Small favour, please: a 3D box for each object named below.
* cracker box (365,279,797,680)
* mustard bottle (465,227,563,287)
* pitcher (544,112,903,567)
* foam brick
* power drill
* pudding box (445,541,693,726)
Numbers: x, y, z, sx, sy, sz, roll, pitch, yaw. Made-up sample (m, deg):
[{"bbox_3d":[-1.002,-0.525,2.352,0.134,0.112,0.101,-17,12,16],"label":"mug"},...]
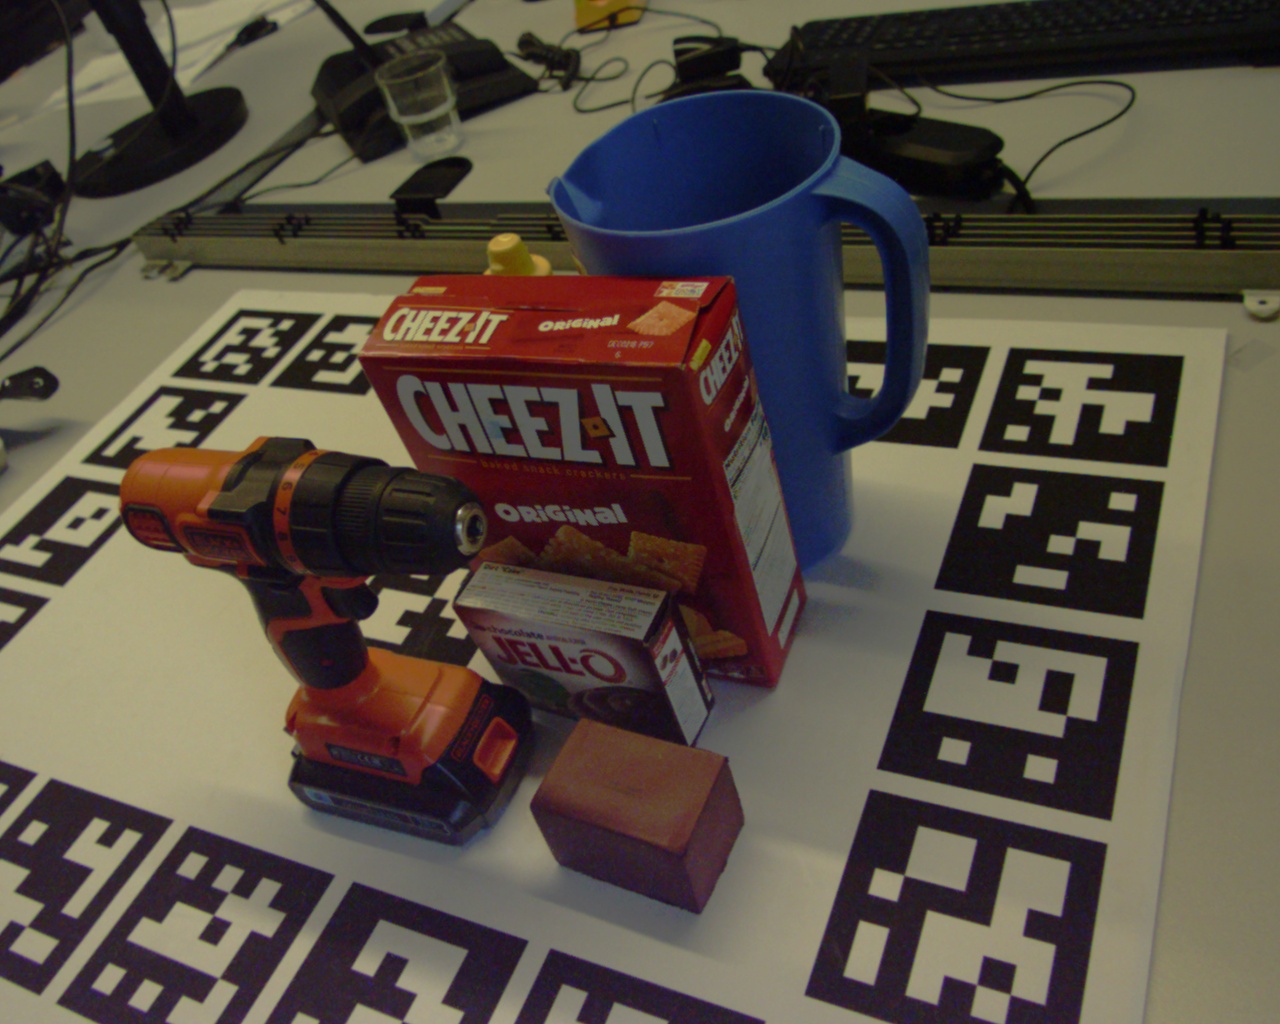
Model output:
[{"bbox_3d":[-0.024,-0.010,0.589,0.166,0.212,0.072,4,45,27],"label":"cracker box"},{"bbox_3d":[-0.061,-0.088,0.692,0.097,0.190,0.058,19,55,35],"label":"mustard bottle"},{"bbox_3d":[0.056,-0.081,0.624,0.191,0.240,0.132,11,50,32],"label":"pitcher"},{"bbox_3d":[-0.001,0.136,0.556,0.079,0.051,0.052,9,51,28],"label":"foam brick"},{"bbox_3d":[-0.131,0.049,0.545,0.187,0.185,0.057,7,45,25],"label":"power drill"},{"bbox_3d":[-0.036,0.061,0.599,0.115,0.089,0.038,6,46,29],"label":"pudding box"}]
